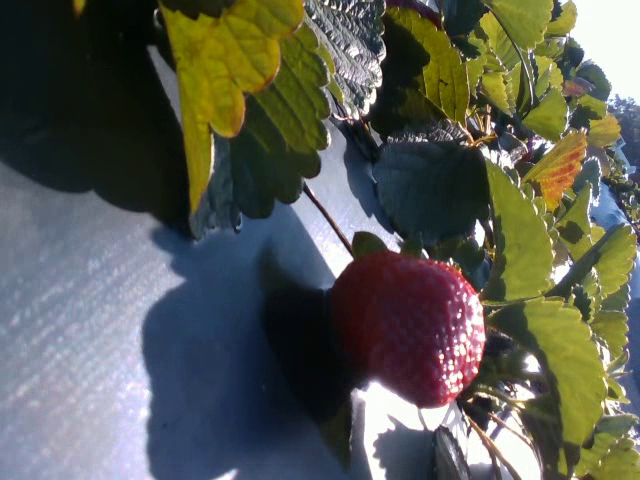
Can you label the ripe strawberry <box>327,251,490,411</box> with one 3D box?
[{"bbox_3d":[0.020,0.023,0.142,0.044,0.042,0.056,11,22,1],"label":"ripe strawberry"}]
